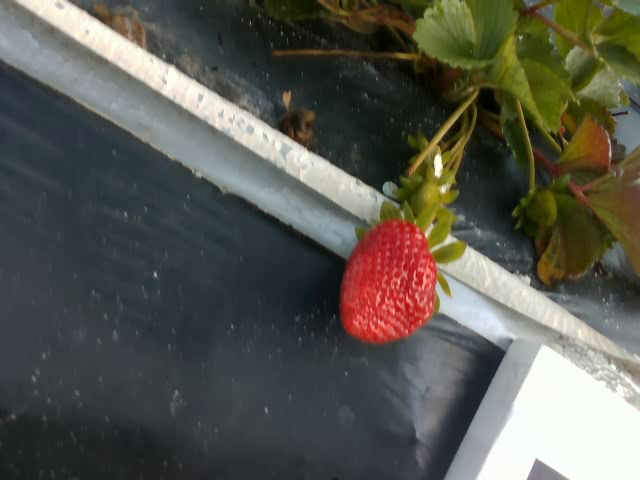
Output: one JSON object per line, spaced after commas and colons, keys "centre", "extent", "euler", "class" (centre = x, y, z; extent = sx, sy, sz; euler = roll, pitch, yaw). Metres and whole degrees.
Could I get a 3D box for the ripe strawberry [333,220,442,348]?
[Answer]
{"centre": [0.023, 0.016, 0.211], "extent": [0.052, 0.048, 0.030], "euler": [-23, 9, -42], "class": "ripe strawberry"}
